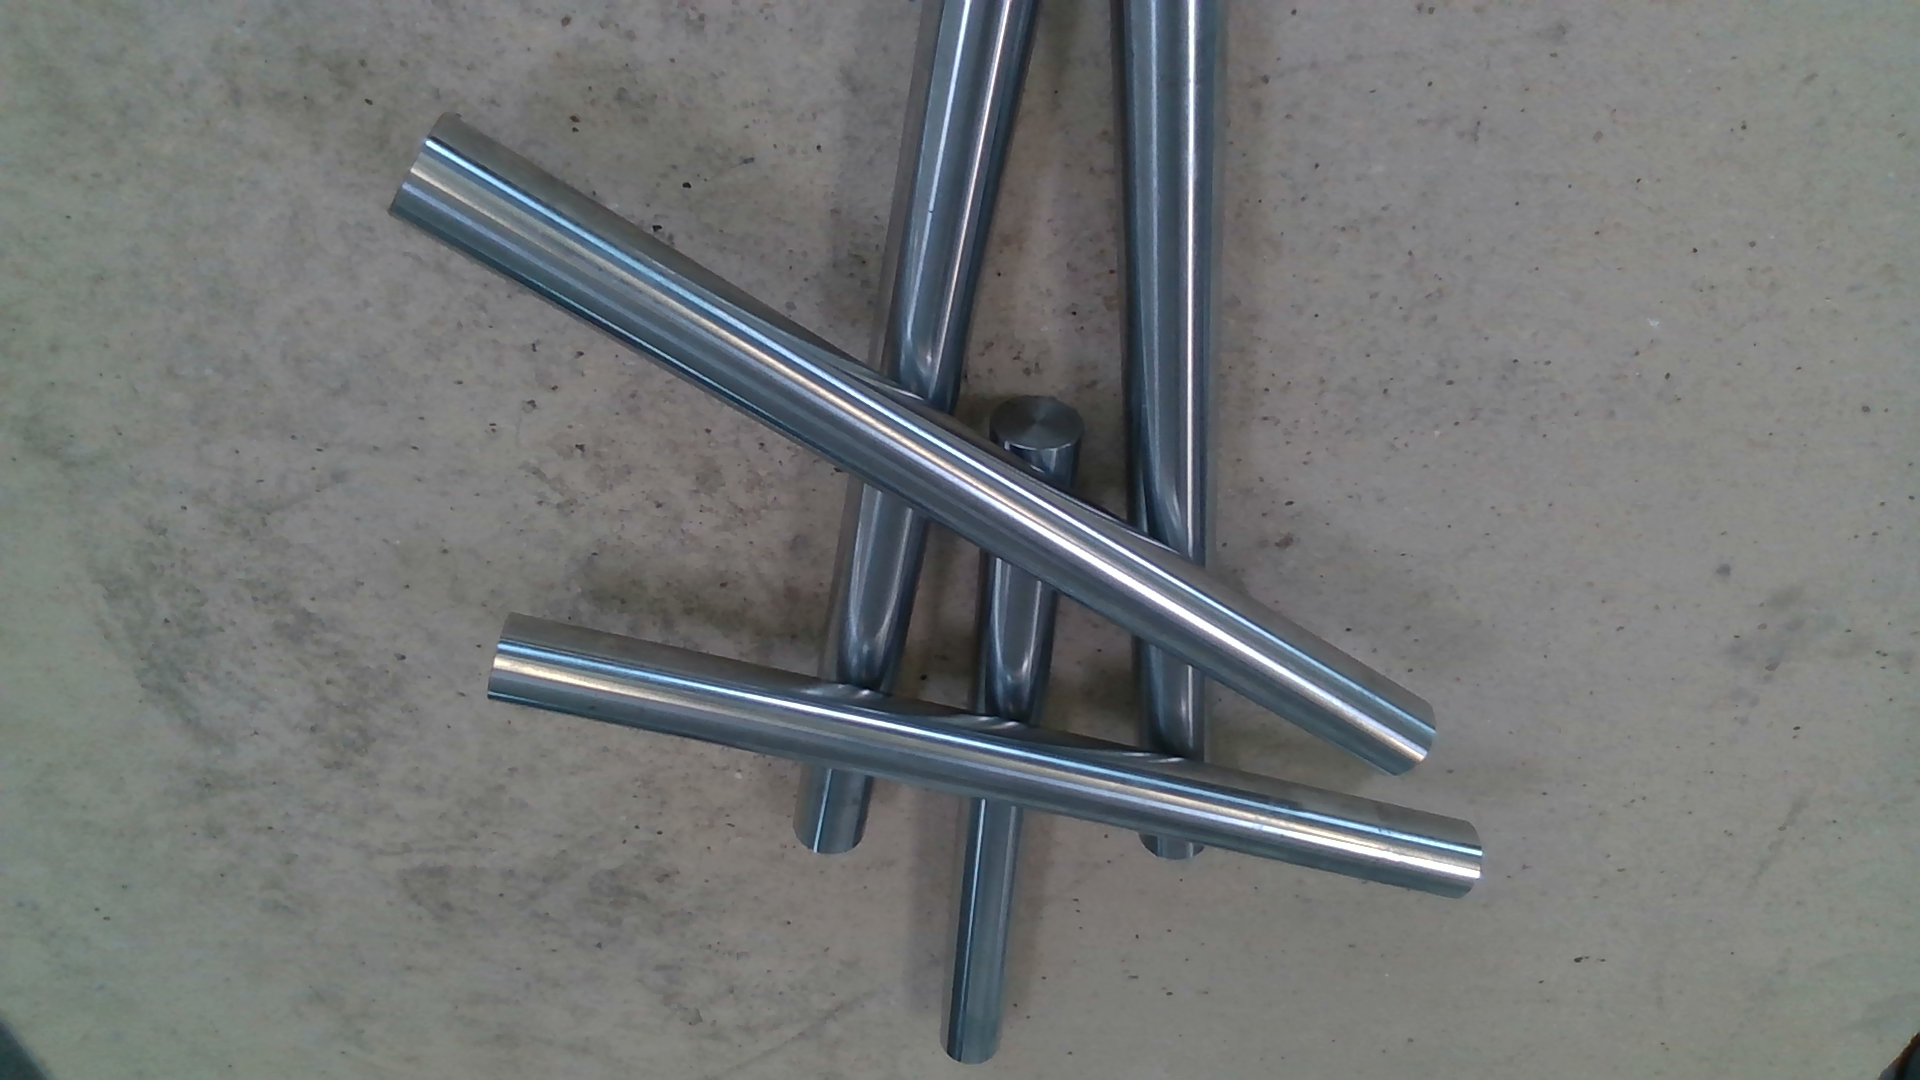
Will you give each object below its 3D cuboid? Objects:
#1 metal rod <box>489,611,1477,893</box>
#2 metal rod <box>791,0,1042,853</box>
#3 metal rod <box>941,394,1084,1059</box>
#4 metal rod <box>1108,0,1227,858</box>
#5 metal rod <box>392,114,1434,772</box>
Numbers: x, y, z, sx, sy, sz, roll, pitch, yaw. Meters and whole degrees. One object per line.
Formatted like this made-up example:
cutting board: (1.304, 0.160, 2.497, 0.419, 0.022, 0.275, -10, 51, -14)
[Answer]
metal rod: (0.015, 0.066, 0.413, 0.300, 0.025, 0.025, 14, 129, -11)
metal rod: (-0.019, -0.016, 0.375, 0.025, 0.025, 0.301, 8, 130, -7)
metal rod: (0.012, 0.083, 0.460, 0.025, 0.025, 0.301, 2, 130, -2)
metal rod: (0.058, -0.015, 0.376, 0.025, 0.025, 0.301, -5, 130, 4)
metal rod: (0.008, -0.011, 0.347, 0.300, 0.025, 0.025, 29, 124, -22)
